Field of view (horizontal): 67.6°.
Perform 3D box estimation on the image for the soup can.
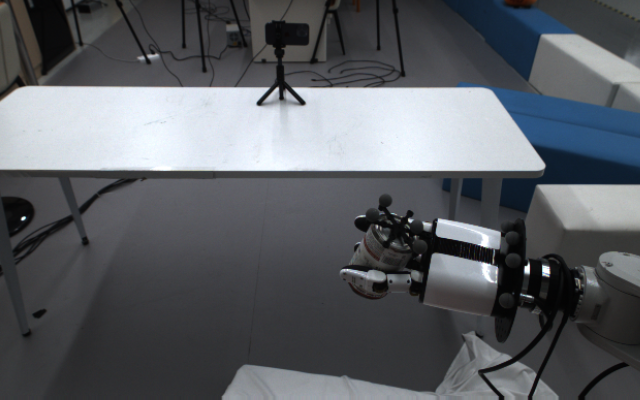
[{"bbox_3d":[0.083,0.076,0.647,0.067,0.101,0.067,14,40,-12],"label":"soup can"}]
